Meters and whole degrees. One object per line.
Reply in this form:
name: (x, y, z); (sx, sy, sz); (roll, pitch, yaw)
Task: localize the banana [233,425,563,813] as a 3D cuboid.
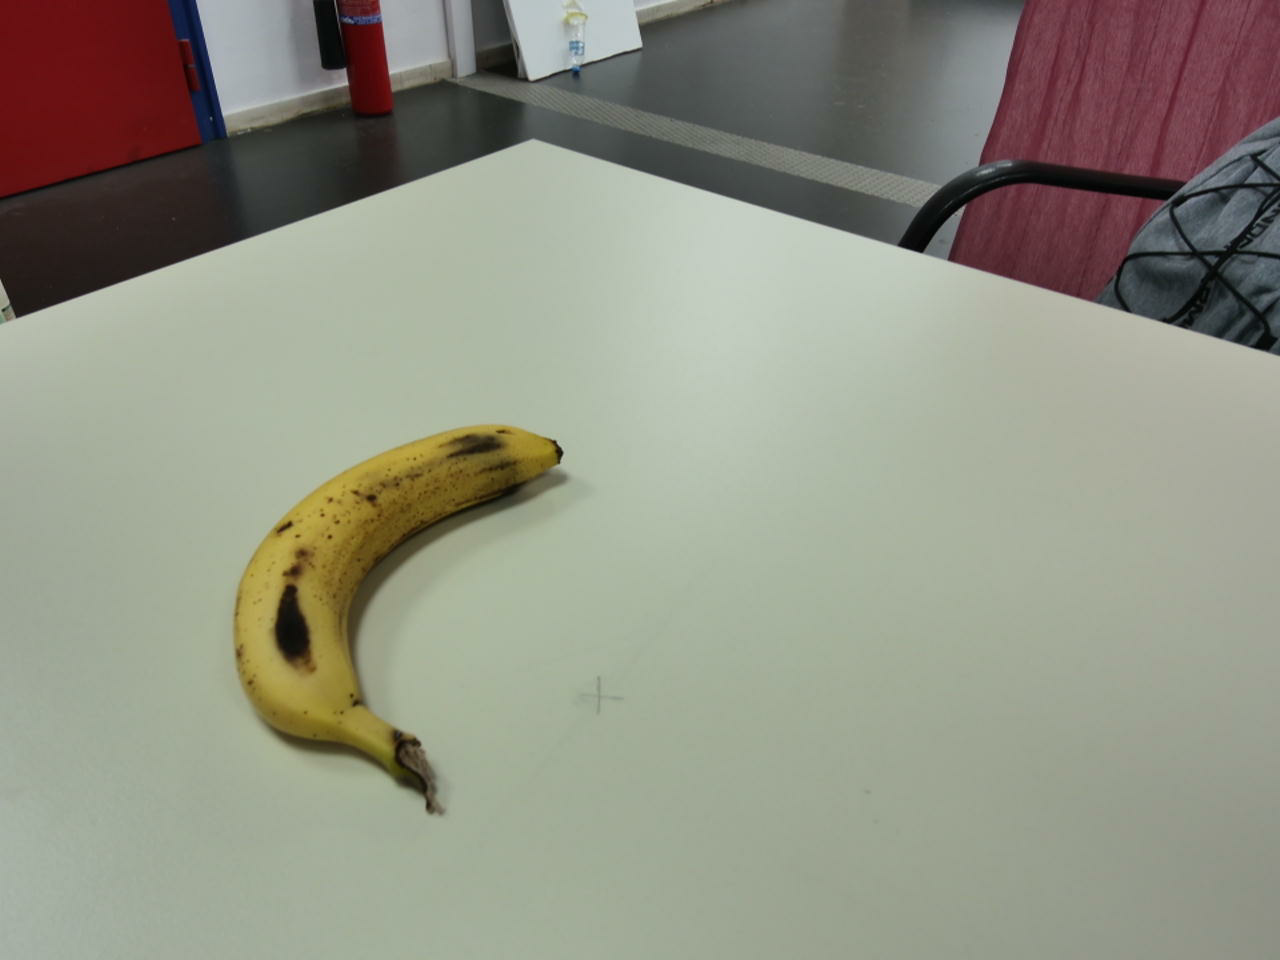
banana: (-0.098, 0.031, 0.397); (0.097, 0.038, 0.186); (7, 35, 7)
